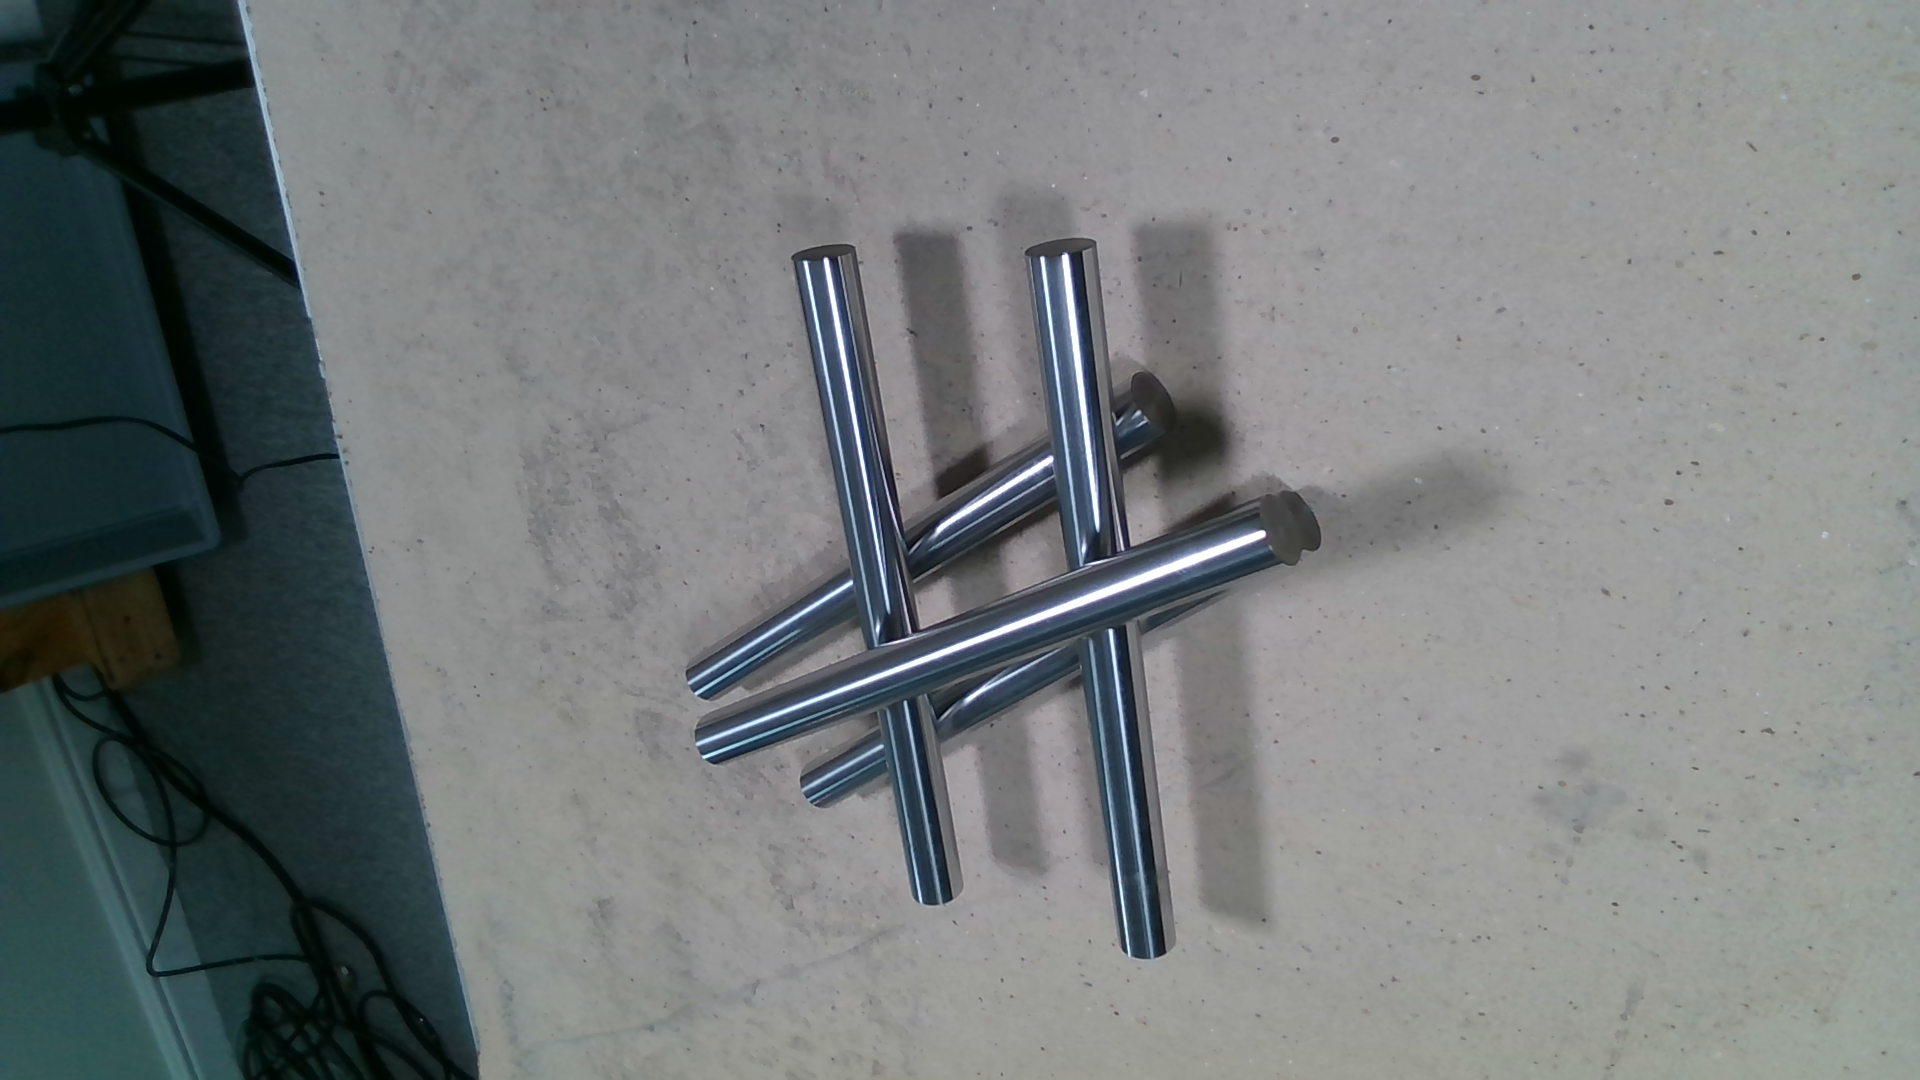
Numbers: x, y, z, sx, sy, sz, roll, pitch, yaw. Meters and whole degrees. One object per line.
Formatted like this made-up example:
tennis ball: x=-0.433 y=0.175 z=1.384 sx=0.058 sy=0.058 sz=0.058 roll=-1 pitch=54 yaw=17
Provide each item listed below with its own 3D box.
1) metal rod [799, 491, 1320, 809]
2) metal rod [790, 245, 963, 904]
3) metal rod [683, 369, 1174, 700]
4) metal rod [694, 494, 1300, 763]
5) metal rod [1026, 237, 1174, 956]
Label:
metal rod: x=0.026 y=0.058 z=0.595 sx=0.301 sy=0.025 sz=0.025 roll=-34 pitch=95 yaw=39
metal rod: x=-0.031 y=0.027 z=0.582 sx=0.025 sy=0.025 sz=0.301 roll=6 pitch=118 yaw=29
metal rod: x=-0.029 y=0.009 z=0.602 sx=0.300 sy=0.025 sz=0.025 roll=-31 pitch=97 yaw=39
metal rod: x=-0.004 y=0.044 z=0.542 sx=0.300 sy=0.025 sz=0.025 roll=-23 pitch=101 yaw=38
metal rod: x=0.057 y=0.035 z=0.532 sx=0.025 sy=0.025 sz=0.301 roll=5 pitch=118 yaw=30
